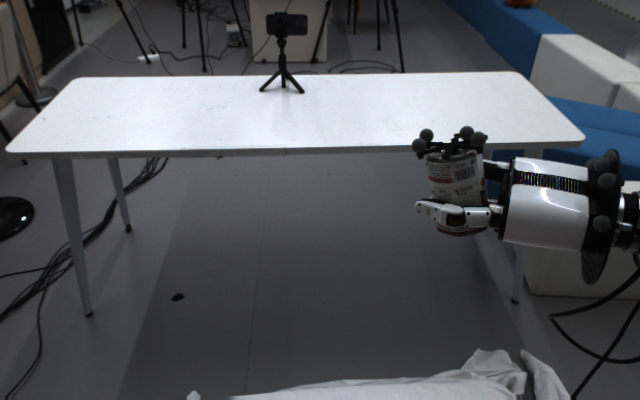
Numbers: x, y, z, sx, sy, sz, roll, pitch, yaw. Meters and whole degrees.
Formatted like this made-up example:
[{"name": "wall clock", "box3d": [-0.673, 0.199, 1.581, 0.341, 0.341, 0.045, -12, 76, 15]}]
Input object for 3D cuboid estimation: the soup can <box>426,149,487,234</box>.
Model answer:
[{"name": "soup can", "box3d": [0.175, -0.015, 0.603, 0.067, 0.101, 0.067, -13, 20, 5]}]
